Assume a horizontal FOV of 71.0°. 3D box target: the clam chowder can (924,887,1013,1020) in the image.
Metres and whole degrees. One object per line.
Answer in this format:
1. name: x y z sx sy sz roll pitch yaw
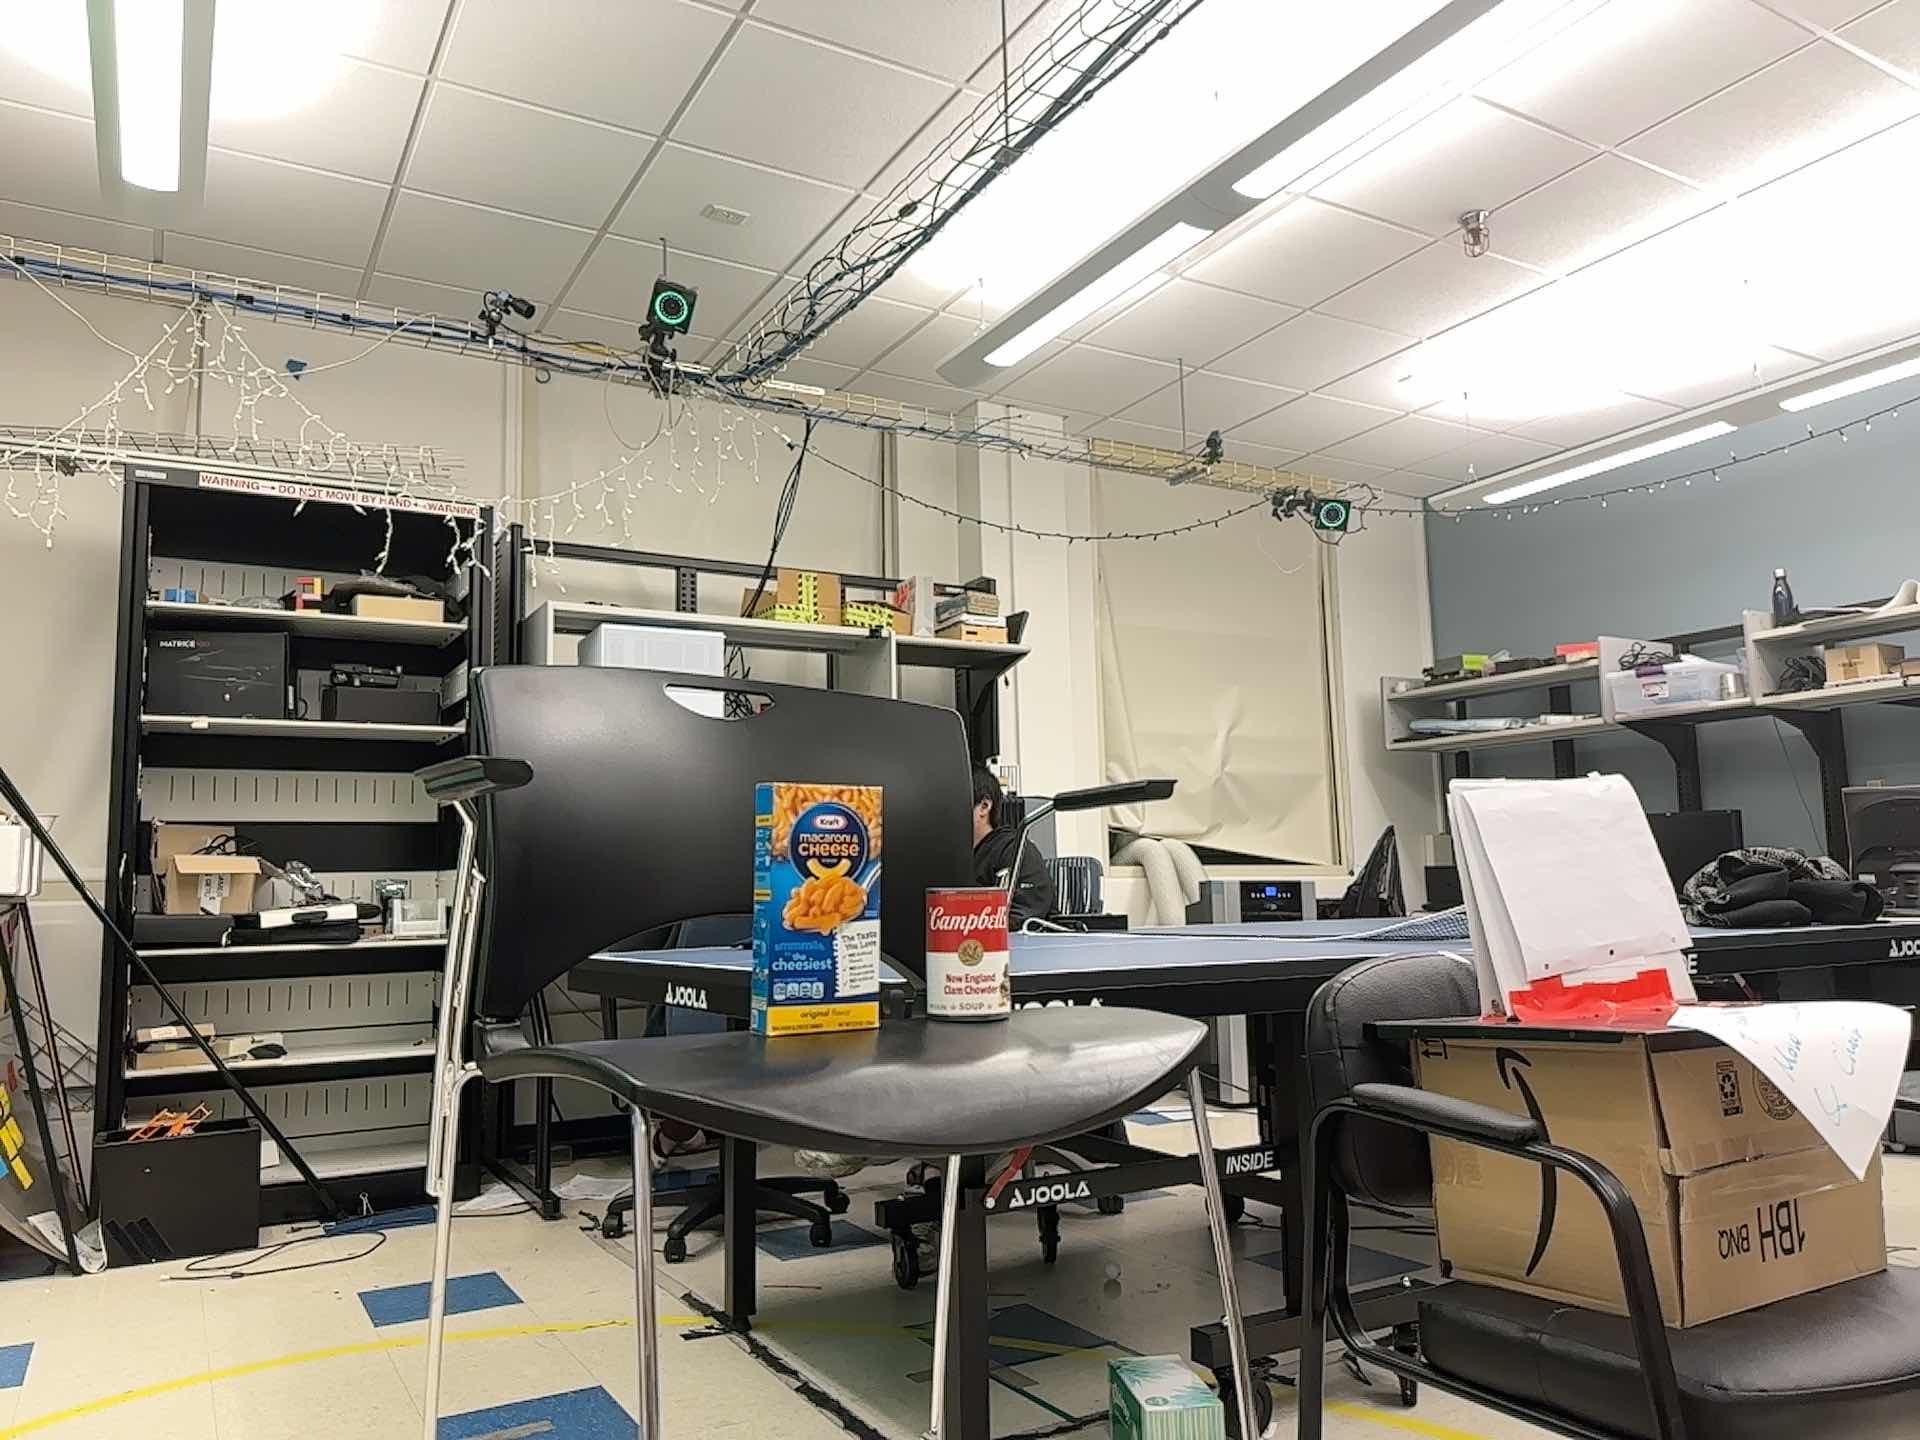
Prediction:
1. clam chowder can: 0.006 0.188 1.089 0.068 0.102 0.068 -2 -9 0

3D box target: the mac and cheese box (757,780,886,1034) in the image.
1. mac and cheese box: -0.104 0.139 1.015 0.088 0.181 0.035 2 -7 -25
